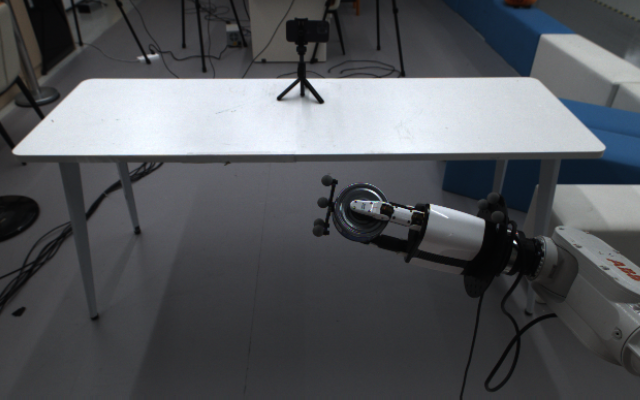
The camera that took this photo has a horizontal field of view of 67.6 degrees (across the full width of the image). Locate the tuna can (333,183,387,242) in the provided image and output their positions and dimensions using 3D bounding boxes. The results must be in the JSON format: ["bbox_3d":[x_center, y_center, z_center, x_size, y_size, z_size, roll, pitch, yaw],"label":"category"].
[{"bbox_3d":[0.065,0.021,0.723,0.085,0.034,0.085,2,73,-5],"label":"tuna can"}]
